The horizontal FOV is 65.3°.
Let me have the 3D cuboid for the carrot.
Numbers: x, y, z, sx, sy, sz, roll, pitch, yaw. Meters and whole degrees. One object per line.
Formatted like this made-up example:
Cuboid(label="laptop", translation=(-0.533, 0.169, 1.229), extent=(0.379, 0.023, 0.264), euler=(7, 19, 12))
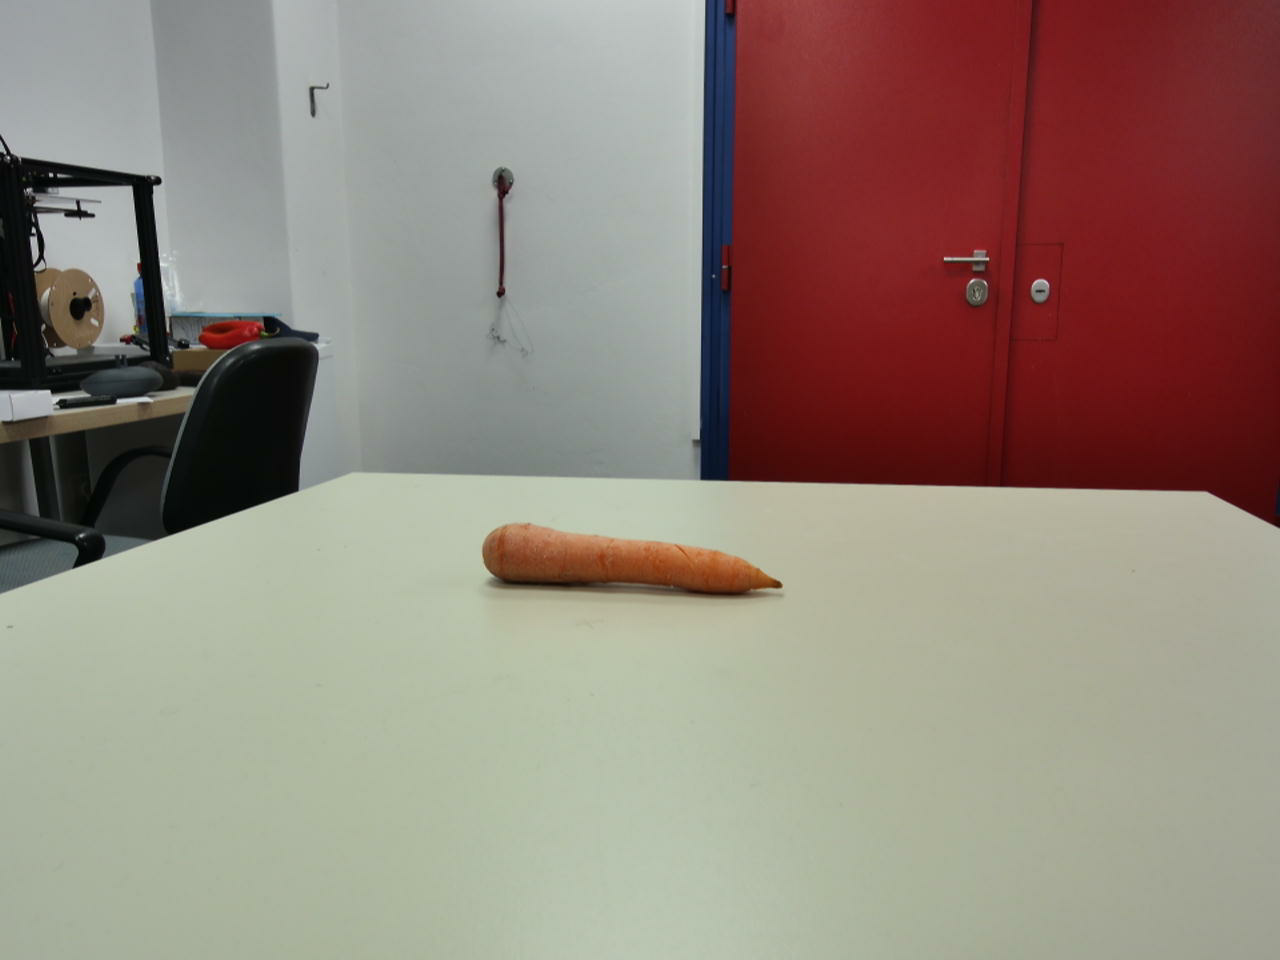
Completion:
Cuboid(label="carrot", translation=(-0.007, 0.050, 0.643), extent=(0.196, 0.041, 0.039), euler=(1, 8, 11))
